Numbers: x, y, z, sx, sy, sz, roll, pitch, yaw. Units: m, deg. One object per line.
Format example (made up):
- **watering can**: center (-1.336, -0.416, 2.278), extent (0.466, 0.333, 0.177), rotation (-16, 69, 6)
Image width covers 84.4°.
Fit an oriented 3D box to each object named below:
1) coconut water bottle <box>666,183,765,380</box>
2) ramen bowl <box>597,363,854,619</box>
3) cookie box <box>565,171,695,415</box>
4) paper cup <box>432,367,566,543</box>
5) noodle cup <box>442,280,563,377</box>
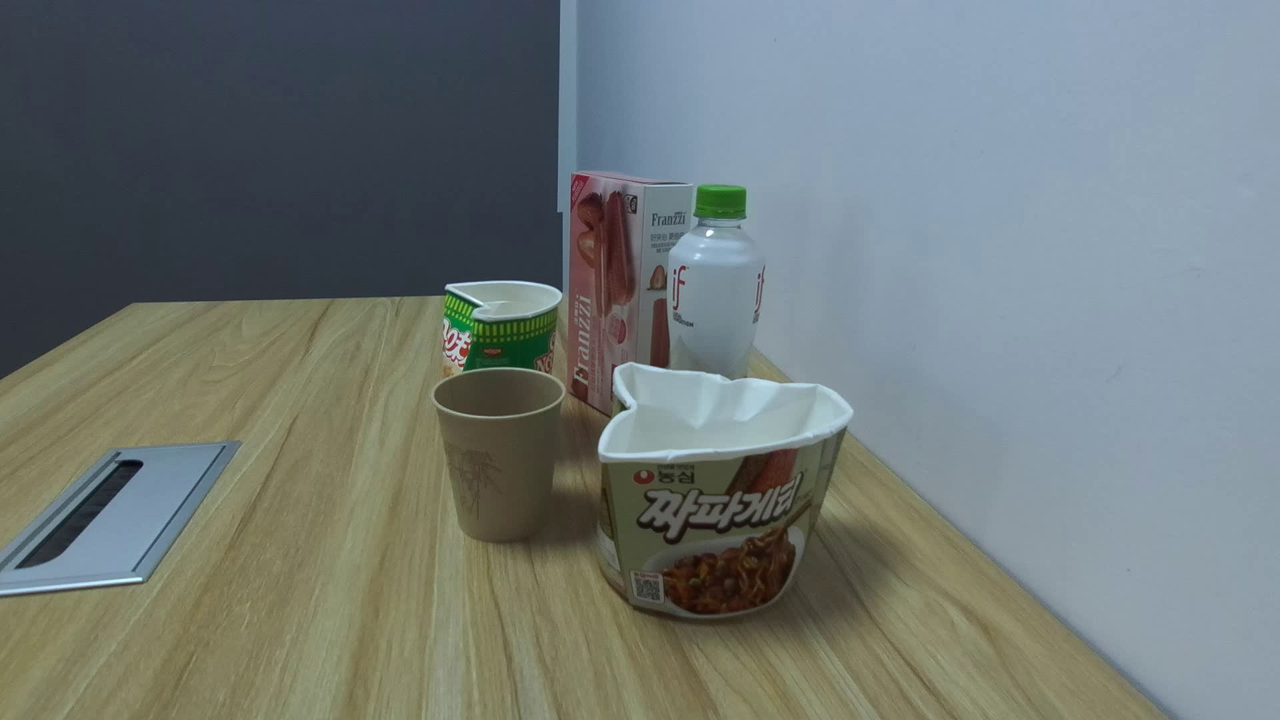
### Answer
- **coconut water bottle**: center (0.047, -0.015, 0.456), extent (0.063, 0.188, 0.063), rotation (2, 16, 0)
- **ramen bowl**: center (0.043, 0.063, 0.372), extent (0.134, 0.097, 0.113), rotation (1, 20, -4)
- **cookie box**: center (-0.010, -0.048, 0.550), extent (0.049, 0.184, 0.095), rotation (-11, 23, -36)
- **paper cup**: center (-0.079, 0.055, 0.407), extent (0.075, 0.082, 0.075), rotation (2, 20, 0)
- **noodle cup**: center (-0.097, 0.008, 0.498), extent (0.087, 0.109, 0.093), rotation (0, 22, -5)
